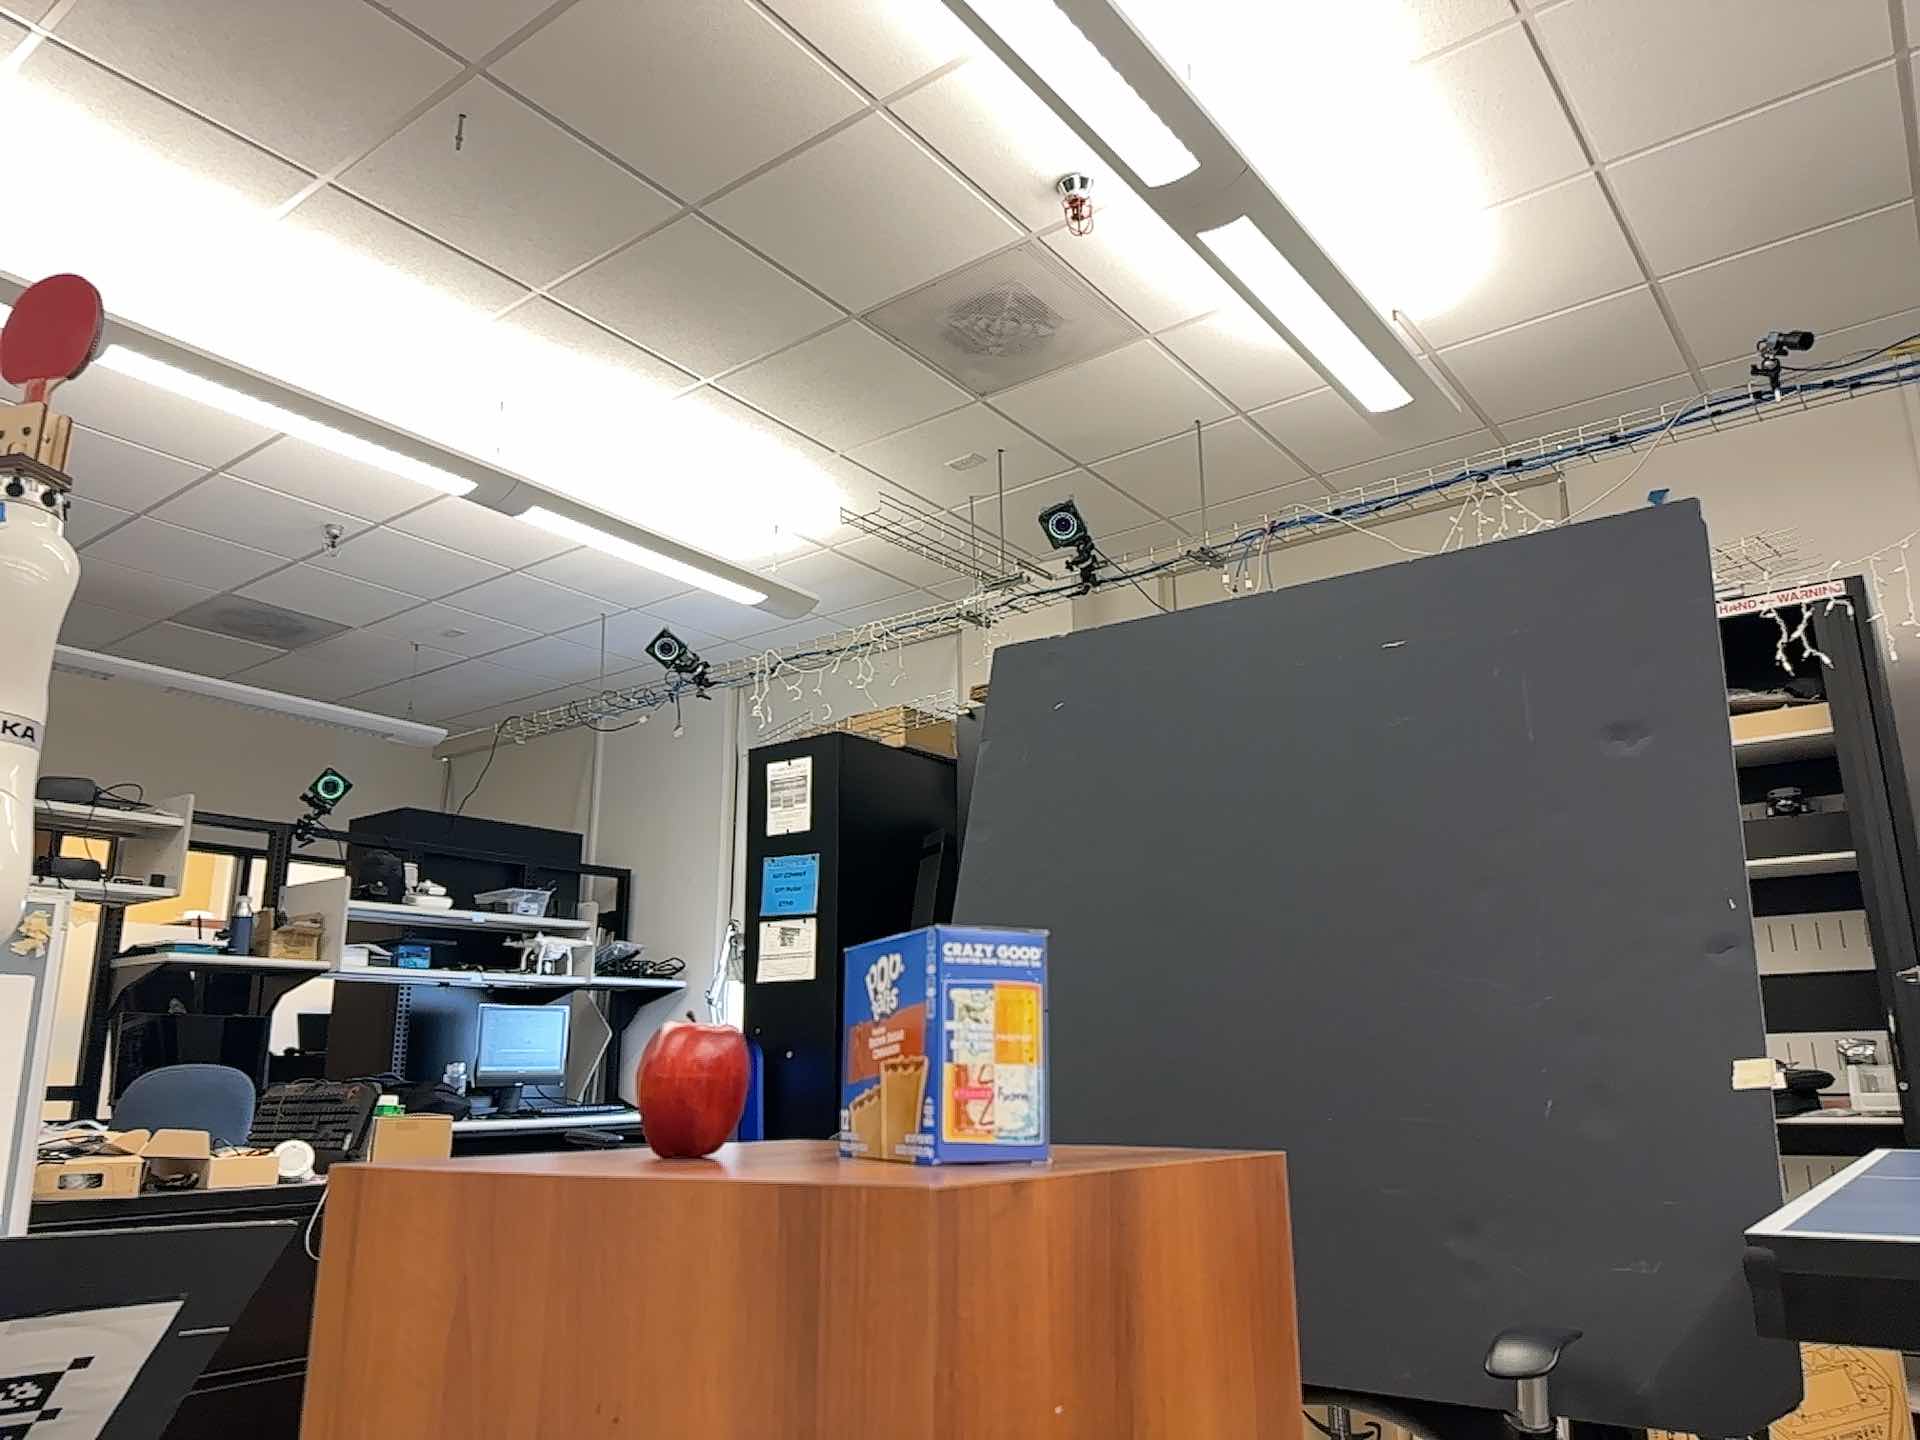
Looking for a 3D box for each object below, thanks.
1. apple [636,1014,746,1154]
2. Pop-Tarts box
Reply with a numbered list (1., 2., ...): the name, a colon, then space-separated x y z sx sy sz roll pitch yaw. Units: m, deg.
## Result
1. apple: -0.190 0.253 0.939 0.079 0.093 0.079 0 -14 0
2. Pop-Tarts box: -0.012 0.217 0.891 0.075 0.135 0.161 7 -17 -23
